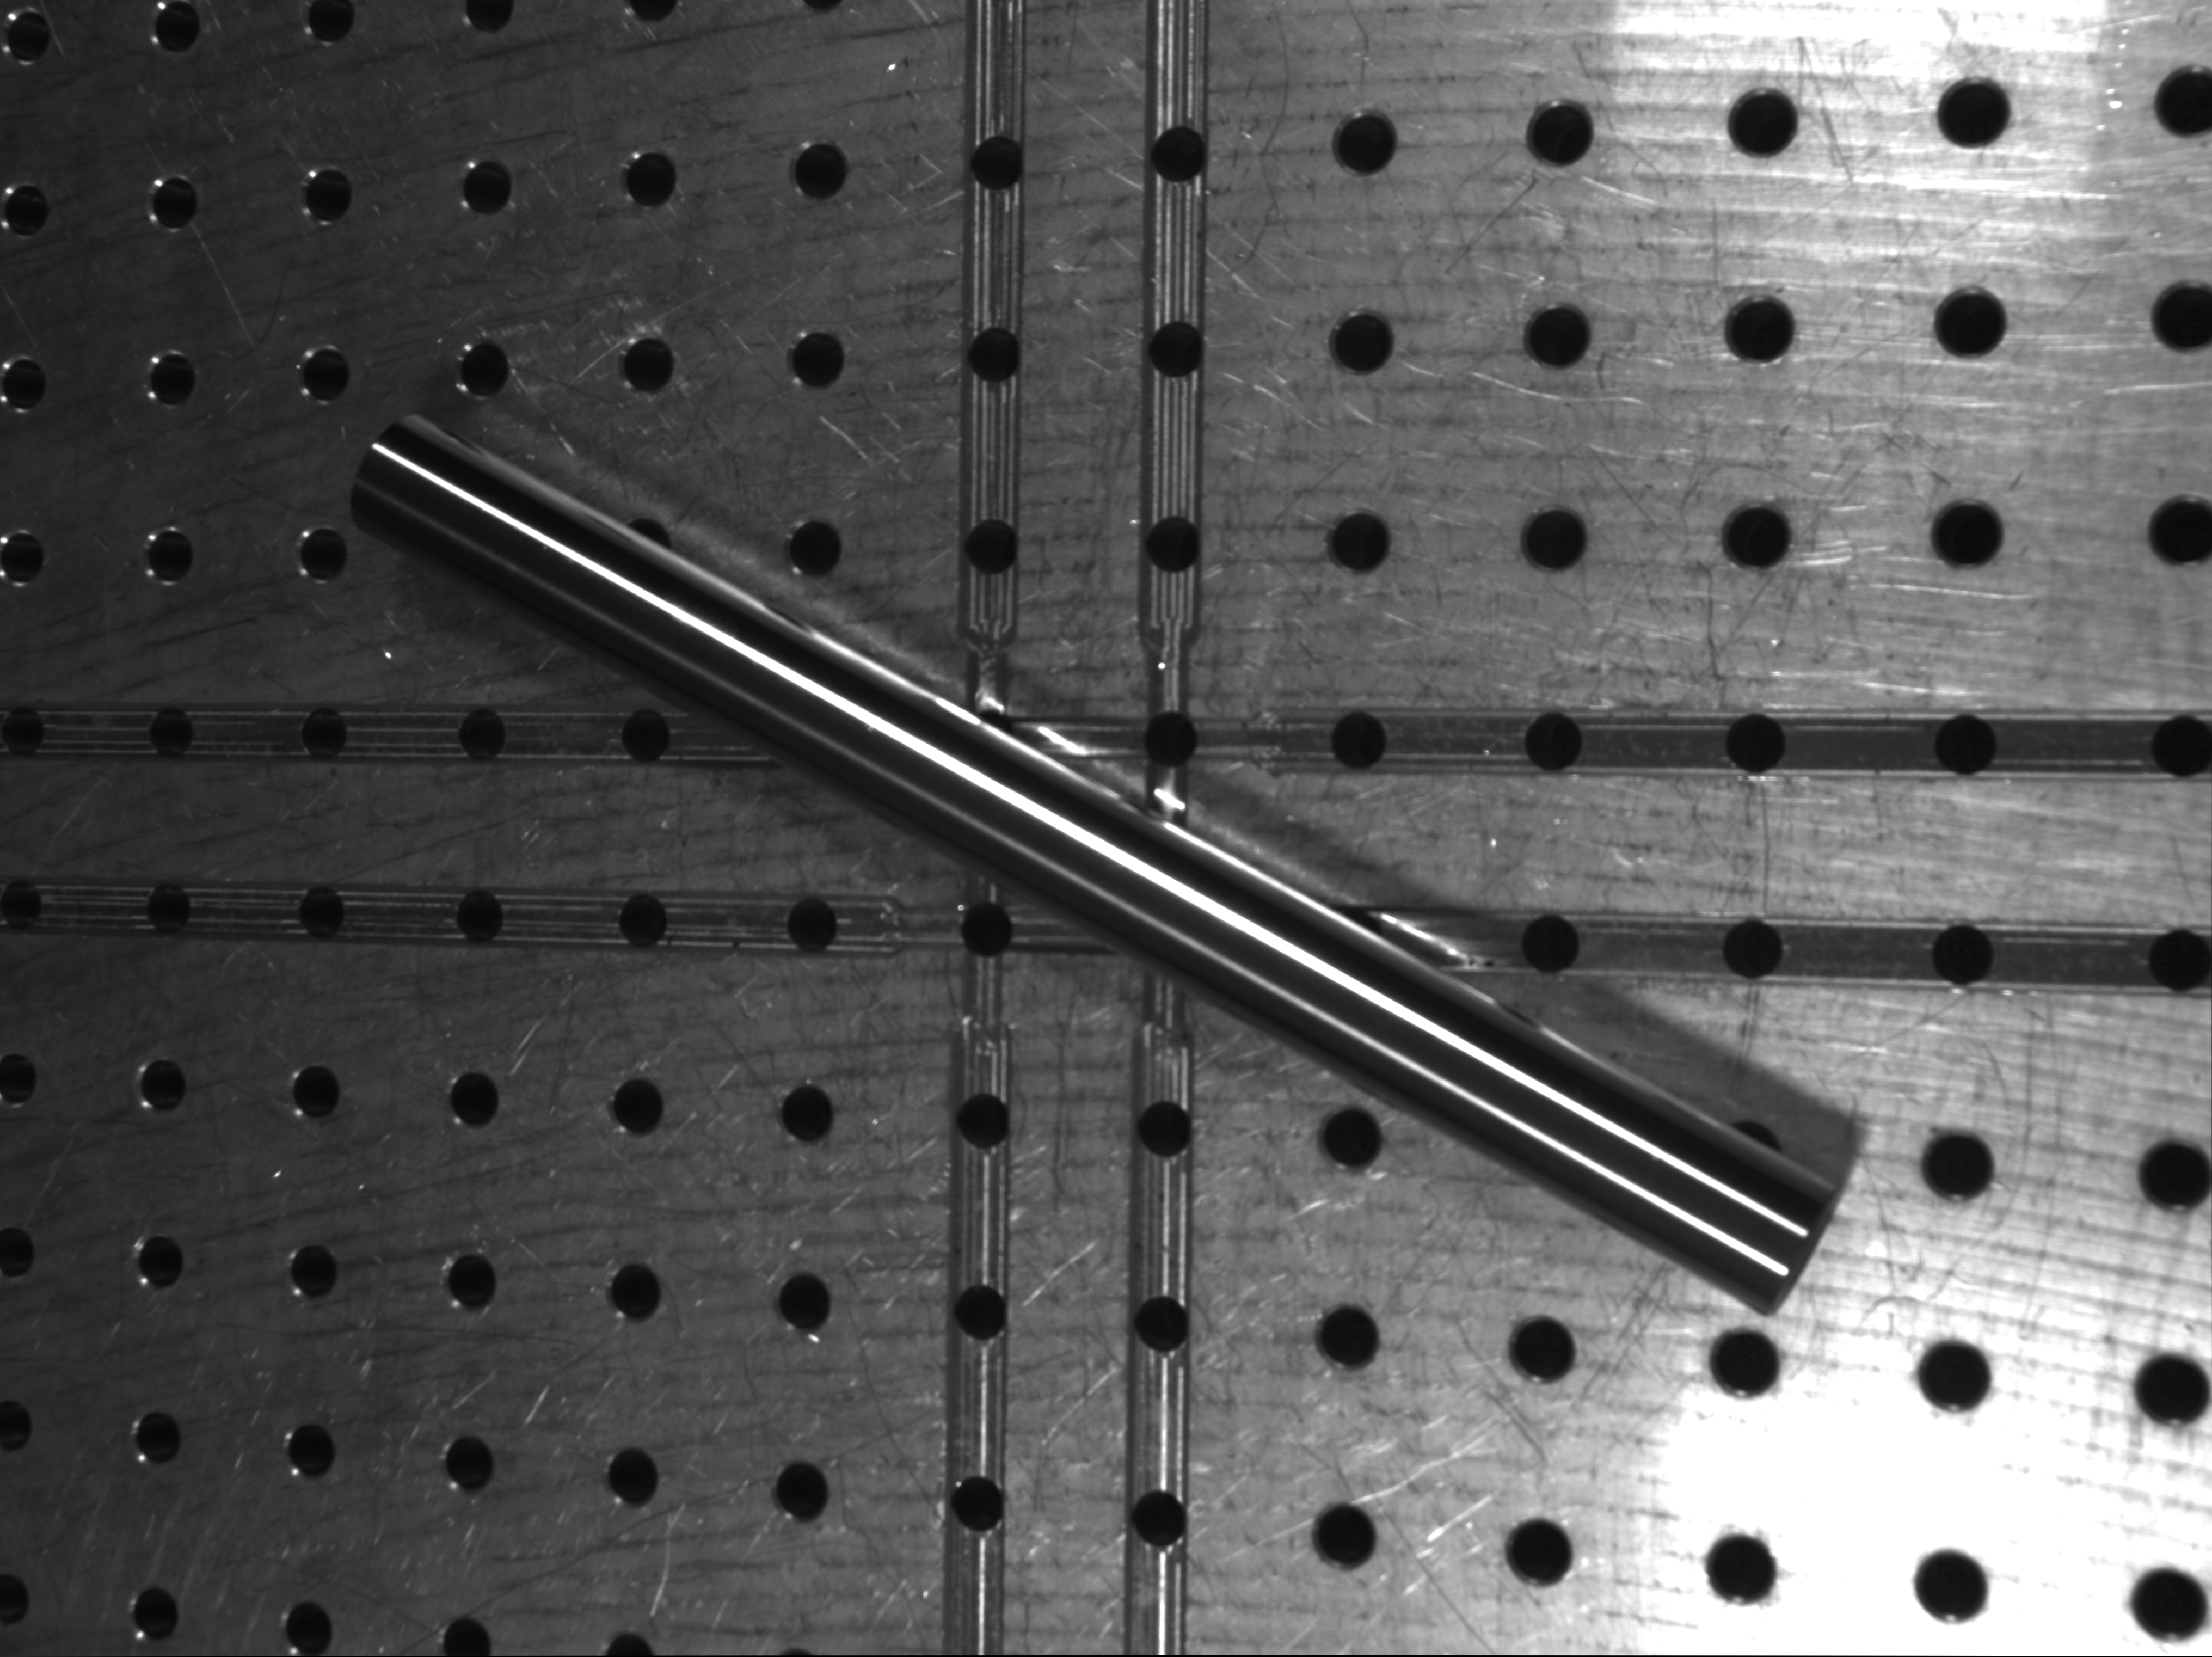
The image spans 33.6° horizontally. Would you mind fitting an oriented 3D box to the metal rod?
[{"bbox_3d":[-0.008,0.002,0.650,0.300,0.025,0.025,29,99,17],"label":"metal rod"}]
